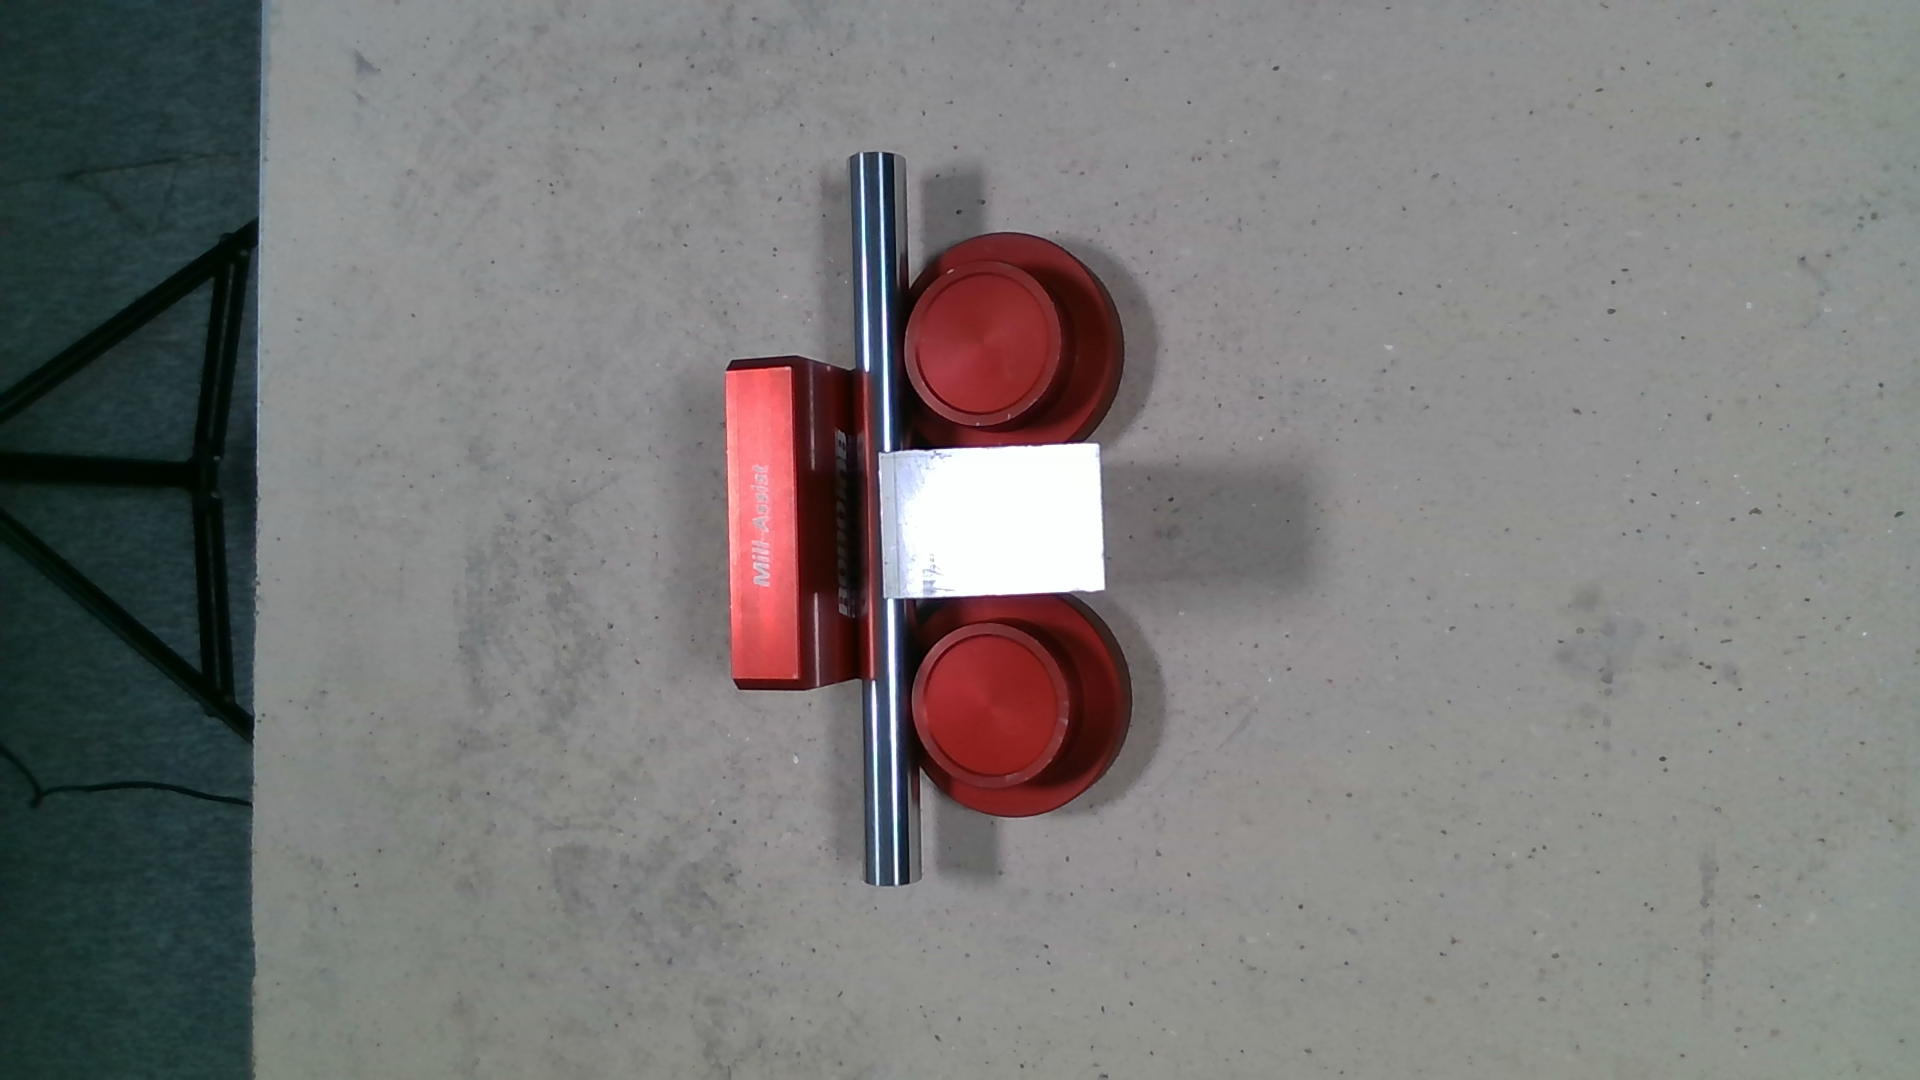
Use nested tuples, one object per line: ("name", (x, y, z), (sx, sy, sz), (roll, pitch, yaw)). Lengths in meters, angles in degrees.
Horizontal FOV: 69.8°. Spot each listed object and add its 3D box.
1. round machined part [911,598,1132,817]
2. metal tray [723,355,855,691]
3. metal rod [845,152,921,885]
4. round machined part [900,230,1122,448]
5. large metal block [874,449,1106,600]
("round machined part", (0.019, 0.066, 0.569), (0.098, 0.042, 0.098), (0, 91, 20))
("metal tray", (-0.062, -0.006, 0.574), (0.030, 0.090, 0.130), (-1, 90, 20))
("metal rod", (-0.032, -0.009, 0.576), (0.025, 0.025, 0.300), (-1, 90, 20))
("round machined part", (0.014, -0.079, 0.569), (0.098, 0.042, 0.098), (0, 91, 20))
("large metal block", (0.008, -0.005, 0.525), (0.080, 0.080, 0.050), (-2, 90, -3))
